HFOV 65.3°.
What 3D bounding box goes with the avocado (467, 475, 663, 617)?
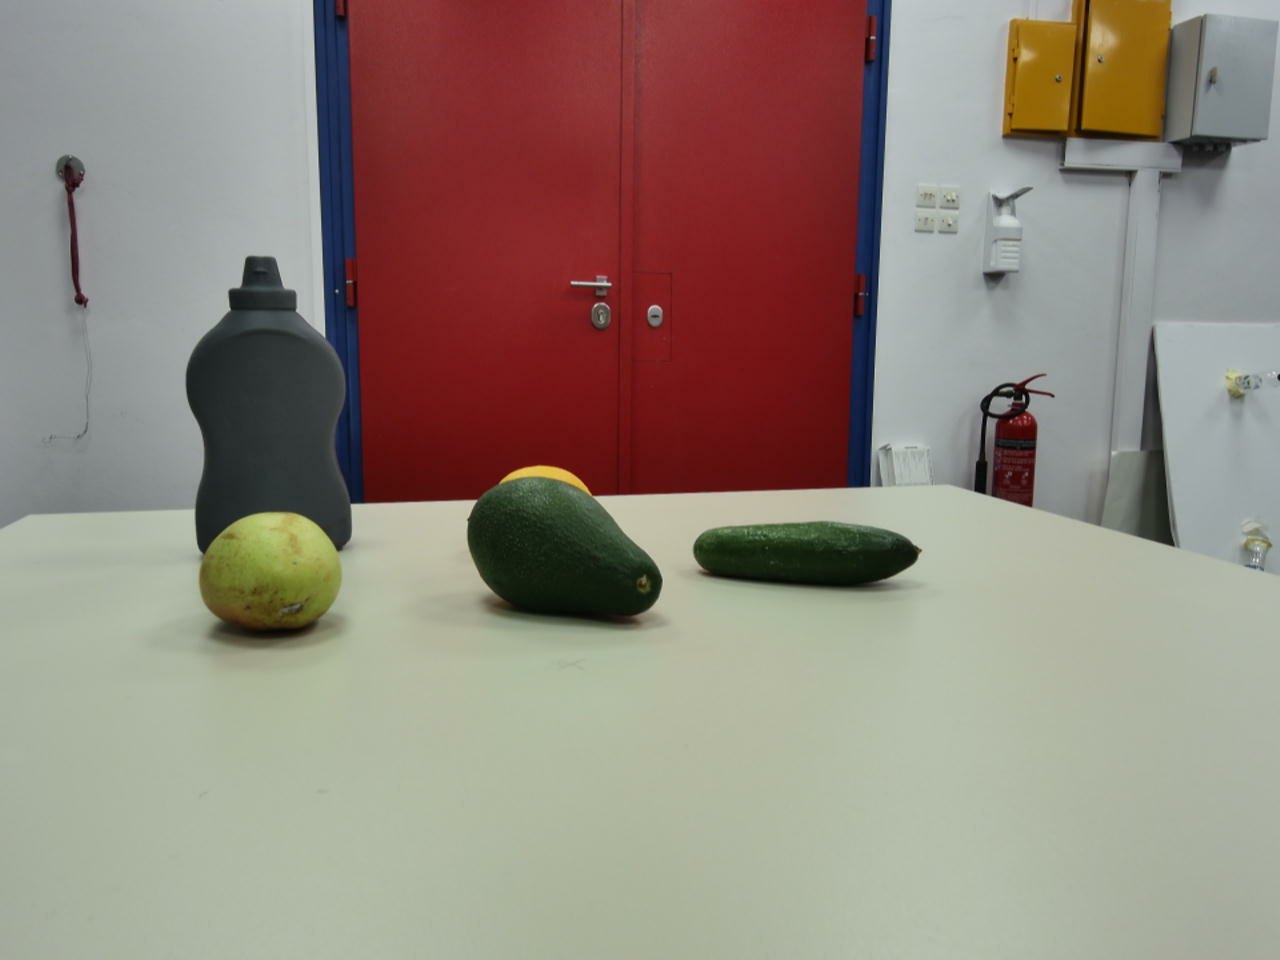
[{"bbox_3d":[-0.044,0.034,0.523,0.072,0.071,0.110,-4,8,-36],"label":"avocado"}]
